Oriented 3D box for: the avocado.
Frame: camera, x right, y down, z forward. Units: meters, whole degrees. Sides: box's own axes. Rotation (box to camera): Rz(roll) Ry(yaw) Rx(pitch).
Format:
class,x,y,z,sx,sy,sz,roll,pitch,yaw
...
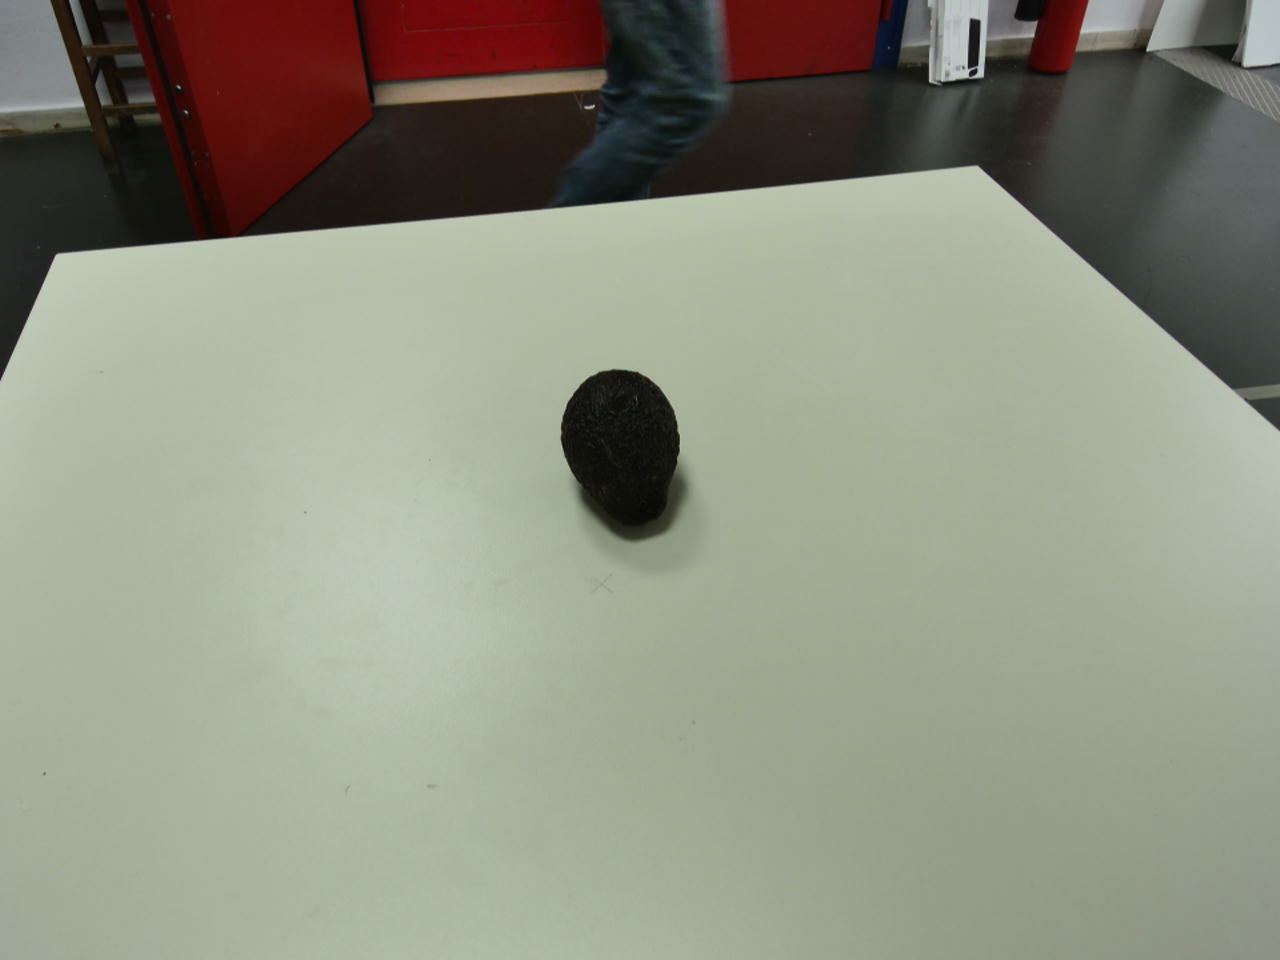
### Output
class,x,y,z,sx,sy,sz,roll,pitch,yaw
avocado,-0.013,-0.023,0.577,0.070,0.069,0.090,7,40,10
